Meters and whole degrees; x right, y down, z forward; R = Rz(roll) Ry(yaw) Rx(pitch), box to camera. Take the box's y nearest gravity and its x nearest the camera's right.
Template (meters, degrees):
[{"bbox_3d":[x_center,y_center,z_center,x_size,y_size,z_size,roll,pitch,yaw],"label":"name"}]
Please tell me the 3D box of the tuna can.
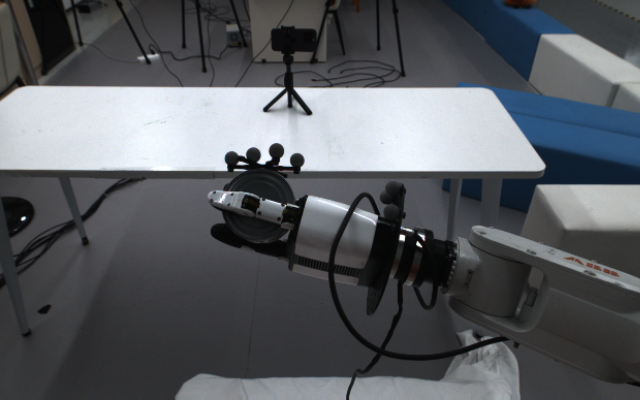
[{"bbox_3d":[-0.069,0.007,0.571,0.085,0.034,0.085,-1,76,4],"label":"tuna can"}]
